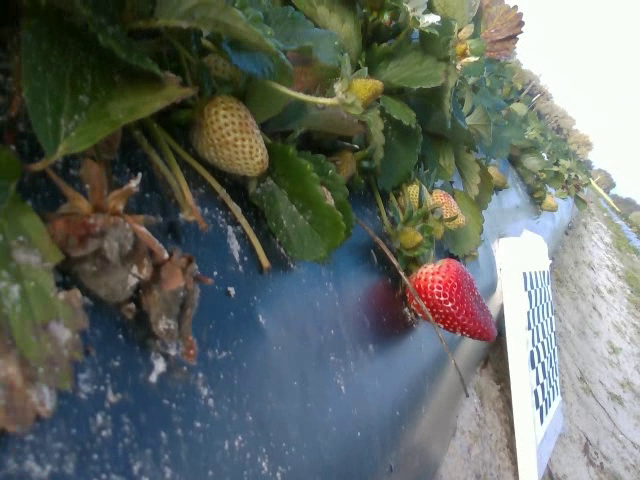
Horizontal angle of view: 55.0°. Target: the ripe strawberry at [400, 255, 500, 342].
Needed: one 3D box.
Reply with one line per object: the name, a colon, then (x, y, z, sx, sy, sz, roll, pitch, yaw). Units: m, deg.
ripe strawberry: (0.093, 0.040, 0.407, 0.067, 0.045, 0.052, 44, 19, 18)
